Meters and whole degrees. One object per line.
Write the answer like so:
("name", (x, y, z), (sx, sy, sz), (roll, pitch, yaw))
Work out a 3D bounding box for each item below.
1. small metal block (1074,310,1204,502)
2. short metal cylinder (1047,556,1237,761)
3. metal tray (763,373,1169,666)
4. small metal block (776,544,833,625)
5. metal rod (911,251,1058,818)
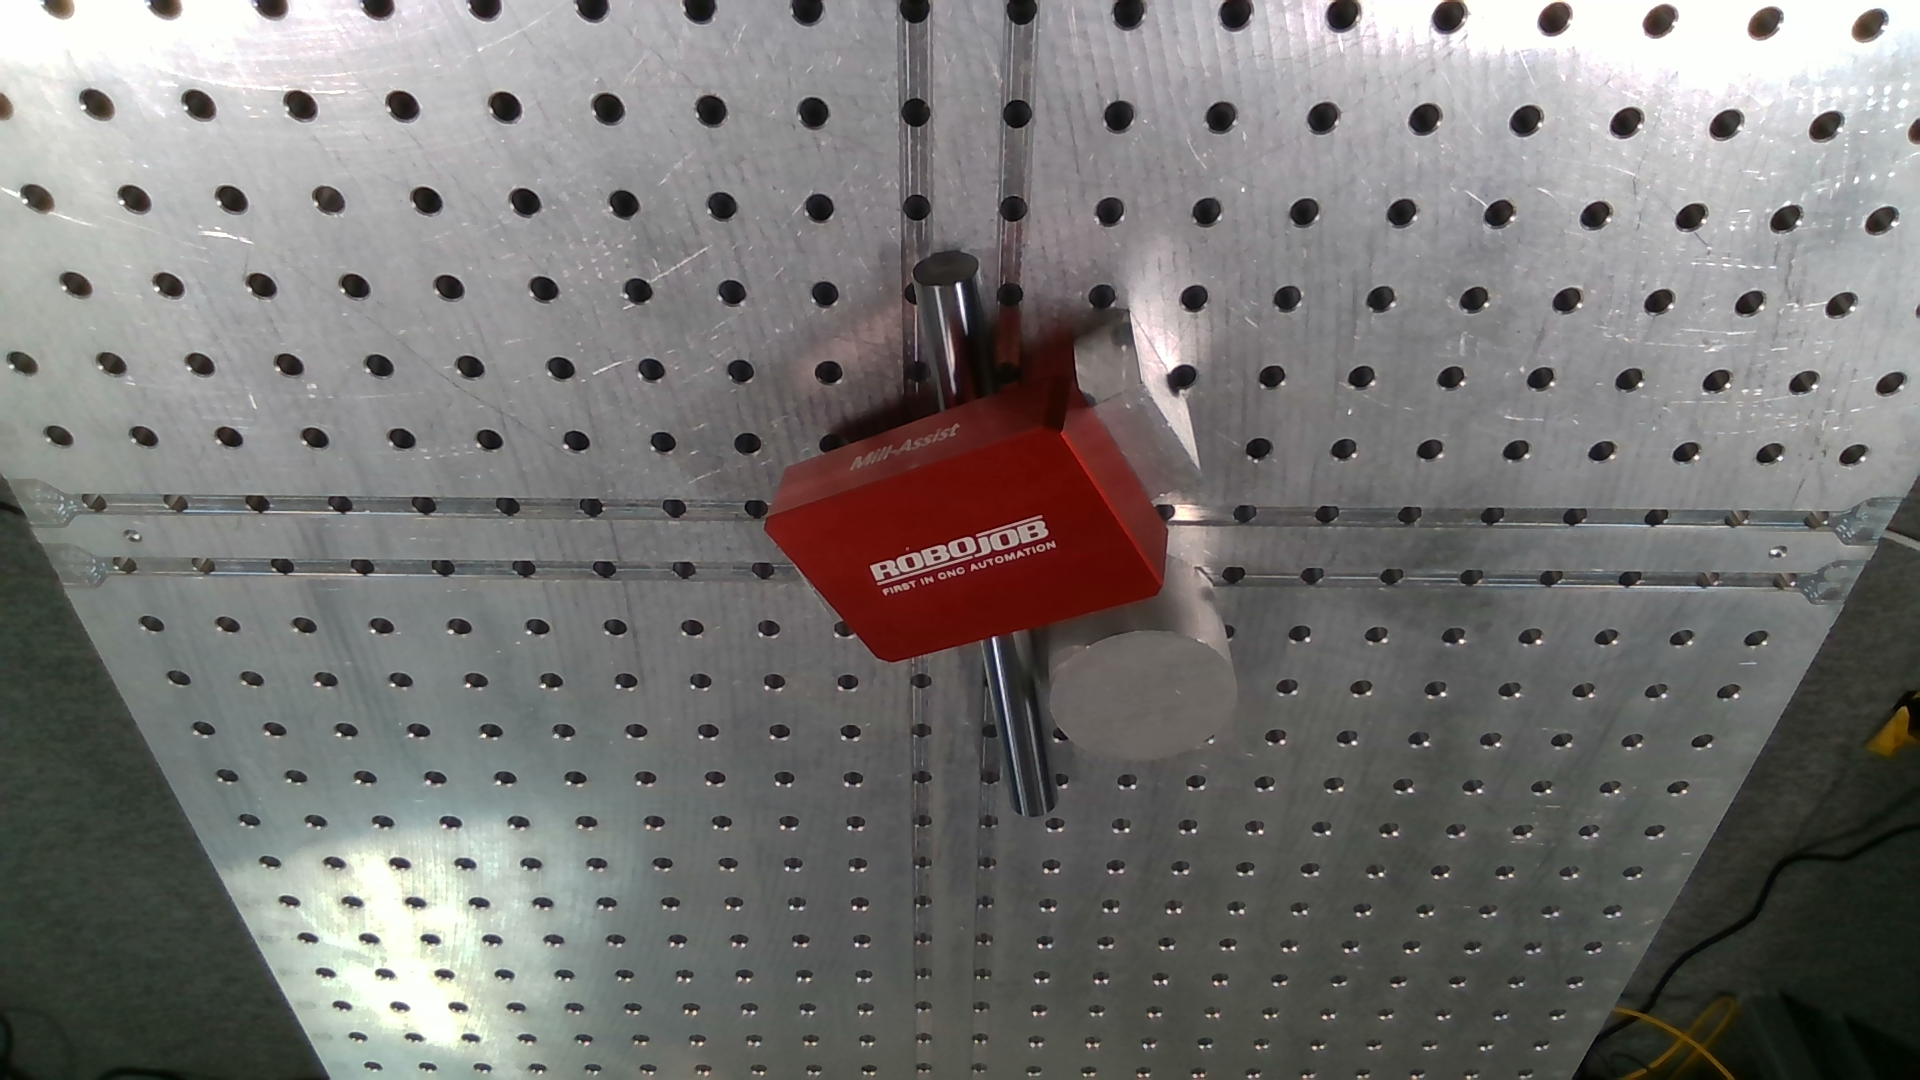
("small metal block", (0.067, -0.050, 0.523), (0.025, 0.050, 0.050), (-25, 125, 20))
("short metal cylinder", (0.078, 0.052, 0.609), (0.080, 0.050, 0.080), (0, 130, 0))
("metal tray", (0.002, -0.003, 0.526), (0.130, 0.030, 0.090), (-17, 128, 28))
("small metal block", (-0.043, 0.004, 0.584), (0.050, 0.025, 0.050), (-18, 128, 15))
("metal rod", (0.016, 0.015, 0.595), (0.025, 0.025, 0.301), (-6, 130, 5))
